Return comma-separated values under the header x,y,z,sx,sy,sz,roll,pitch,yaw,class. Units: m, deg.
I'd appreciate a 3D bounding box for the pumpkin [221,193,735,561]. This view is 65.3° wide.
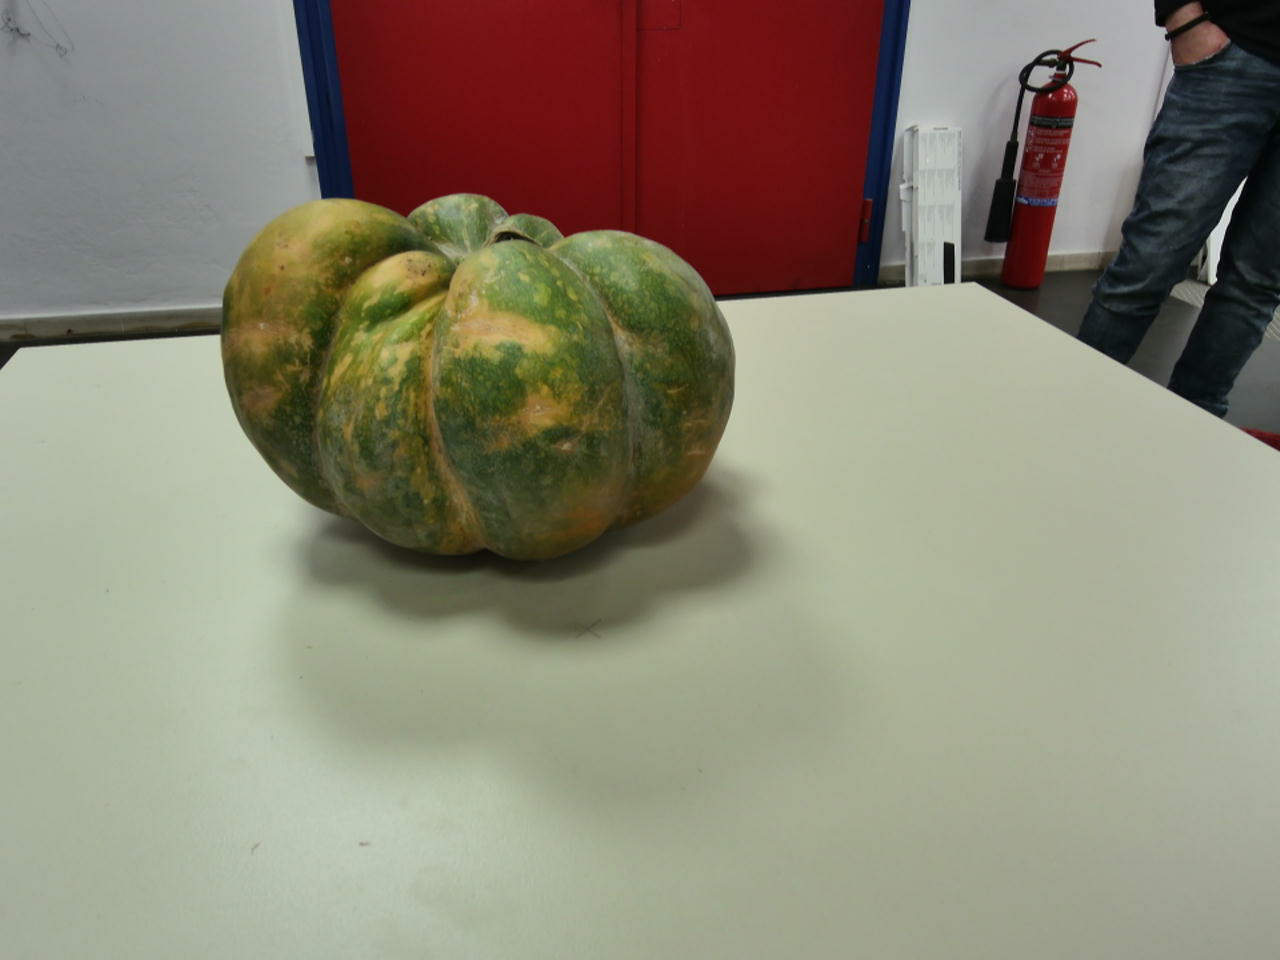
x,y,z,sx,sy,sz,roll,pitch,yaw,class
-0.079,-0.063,0.524,0.270,0.173,0.237,11,28,22,pumpkin
